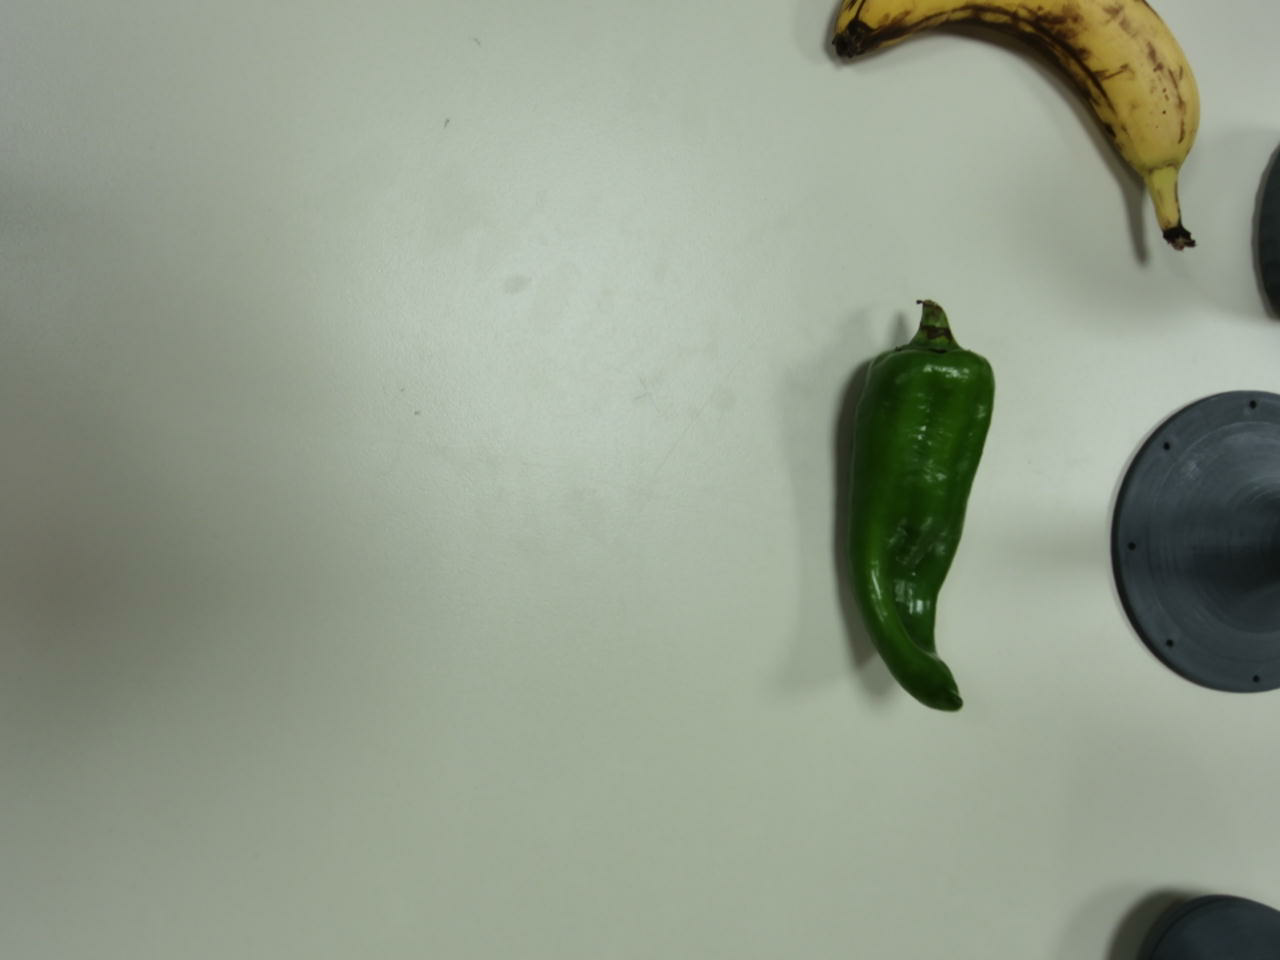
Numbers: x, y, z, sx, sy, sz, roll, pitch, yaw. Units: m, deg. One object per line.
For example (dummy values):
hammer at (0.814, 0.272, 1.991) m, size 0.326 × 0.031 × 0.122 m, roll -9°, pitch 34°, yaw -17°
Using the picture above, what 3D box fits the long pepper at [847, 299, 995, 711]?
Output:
long pepper at (0.121, 0.007, 0.432) m, size 0.058 × 0.065 × 0.175 m, roll 8°, pitch 89°, yaw -11°
